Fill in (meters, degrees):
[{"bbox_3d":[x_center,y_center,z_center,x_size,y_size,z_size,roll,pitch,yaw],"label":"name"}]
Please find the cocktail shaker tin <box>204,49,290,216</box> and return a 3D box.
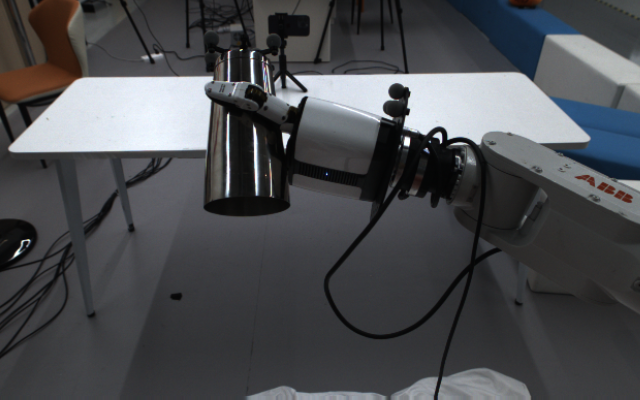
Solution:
[{"bbox_3d":[-0.082,-0.073,0.536,0.093,0.093,0.170,-3,76,-7],"label":"cocktail shaker tin"}]
